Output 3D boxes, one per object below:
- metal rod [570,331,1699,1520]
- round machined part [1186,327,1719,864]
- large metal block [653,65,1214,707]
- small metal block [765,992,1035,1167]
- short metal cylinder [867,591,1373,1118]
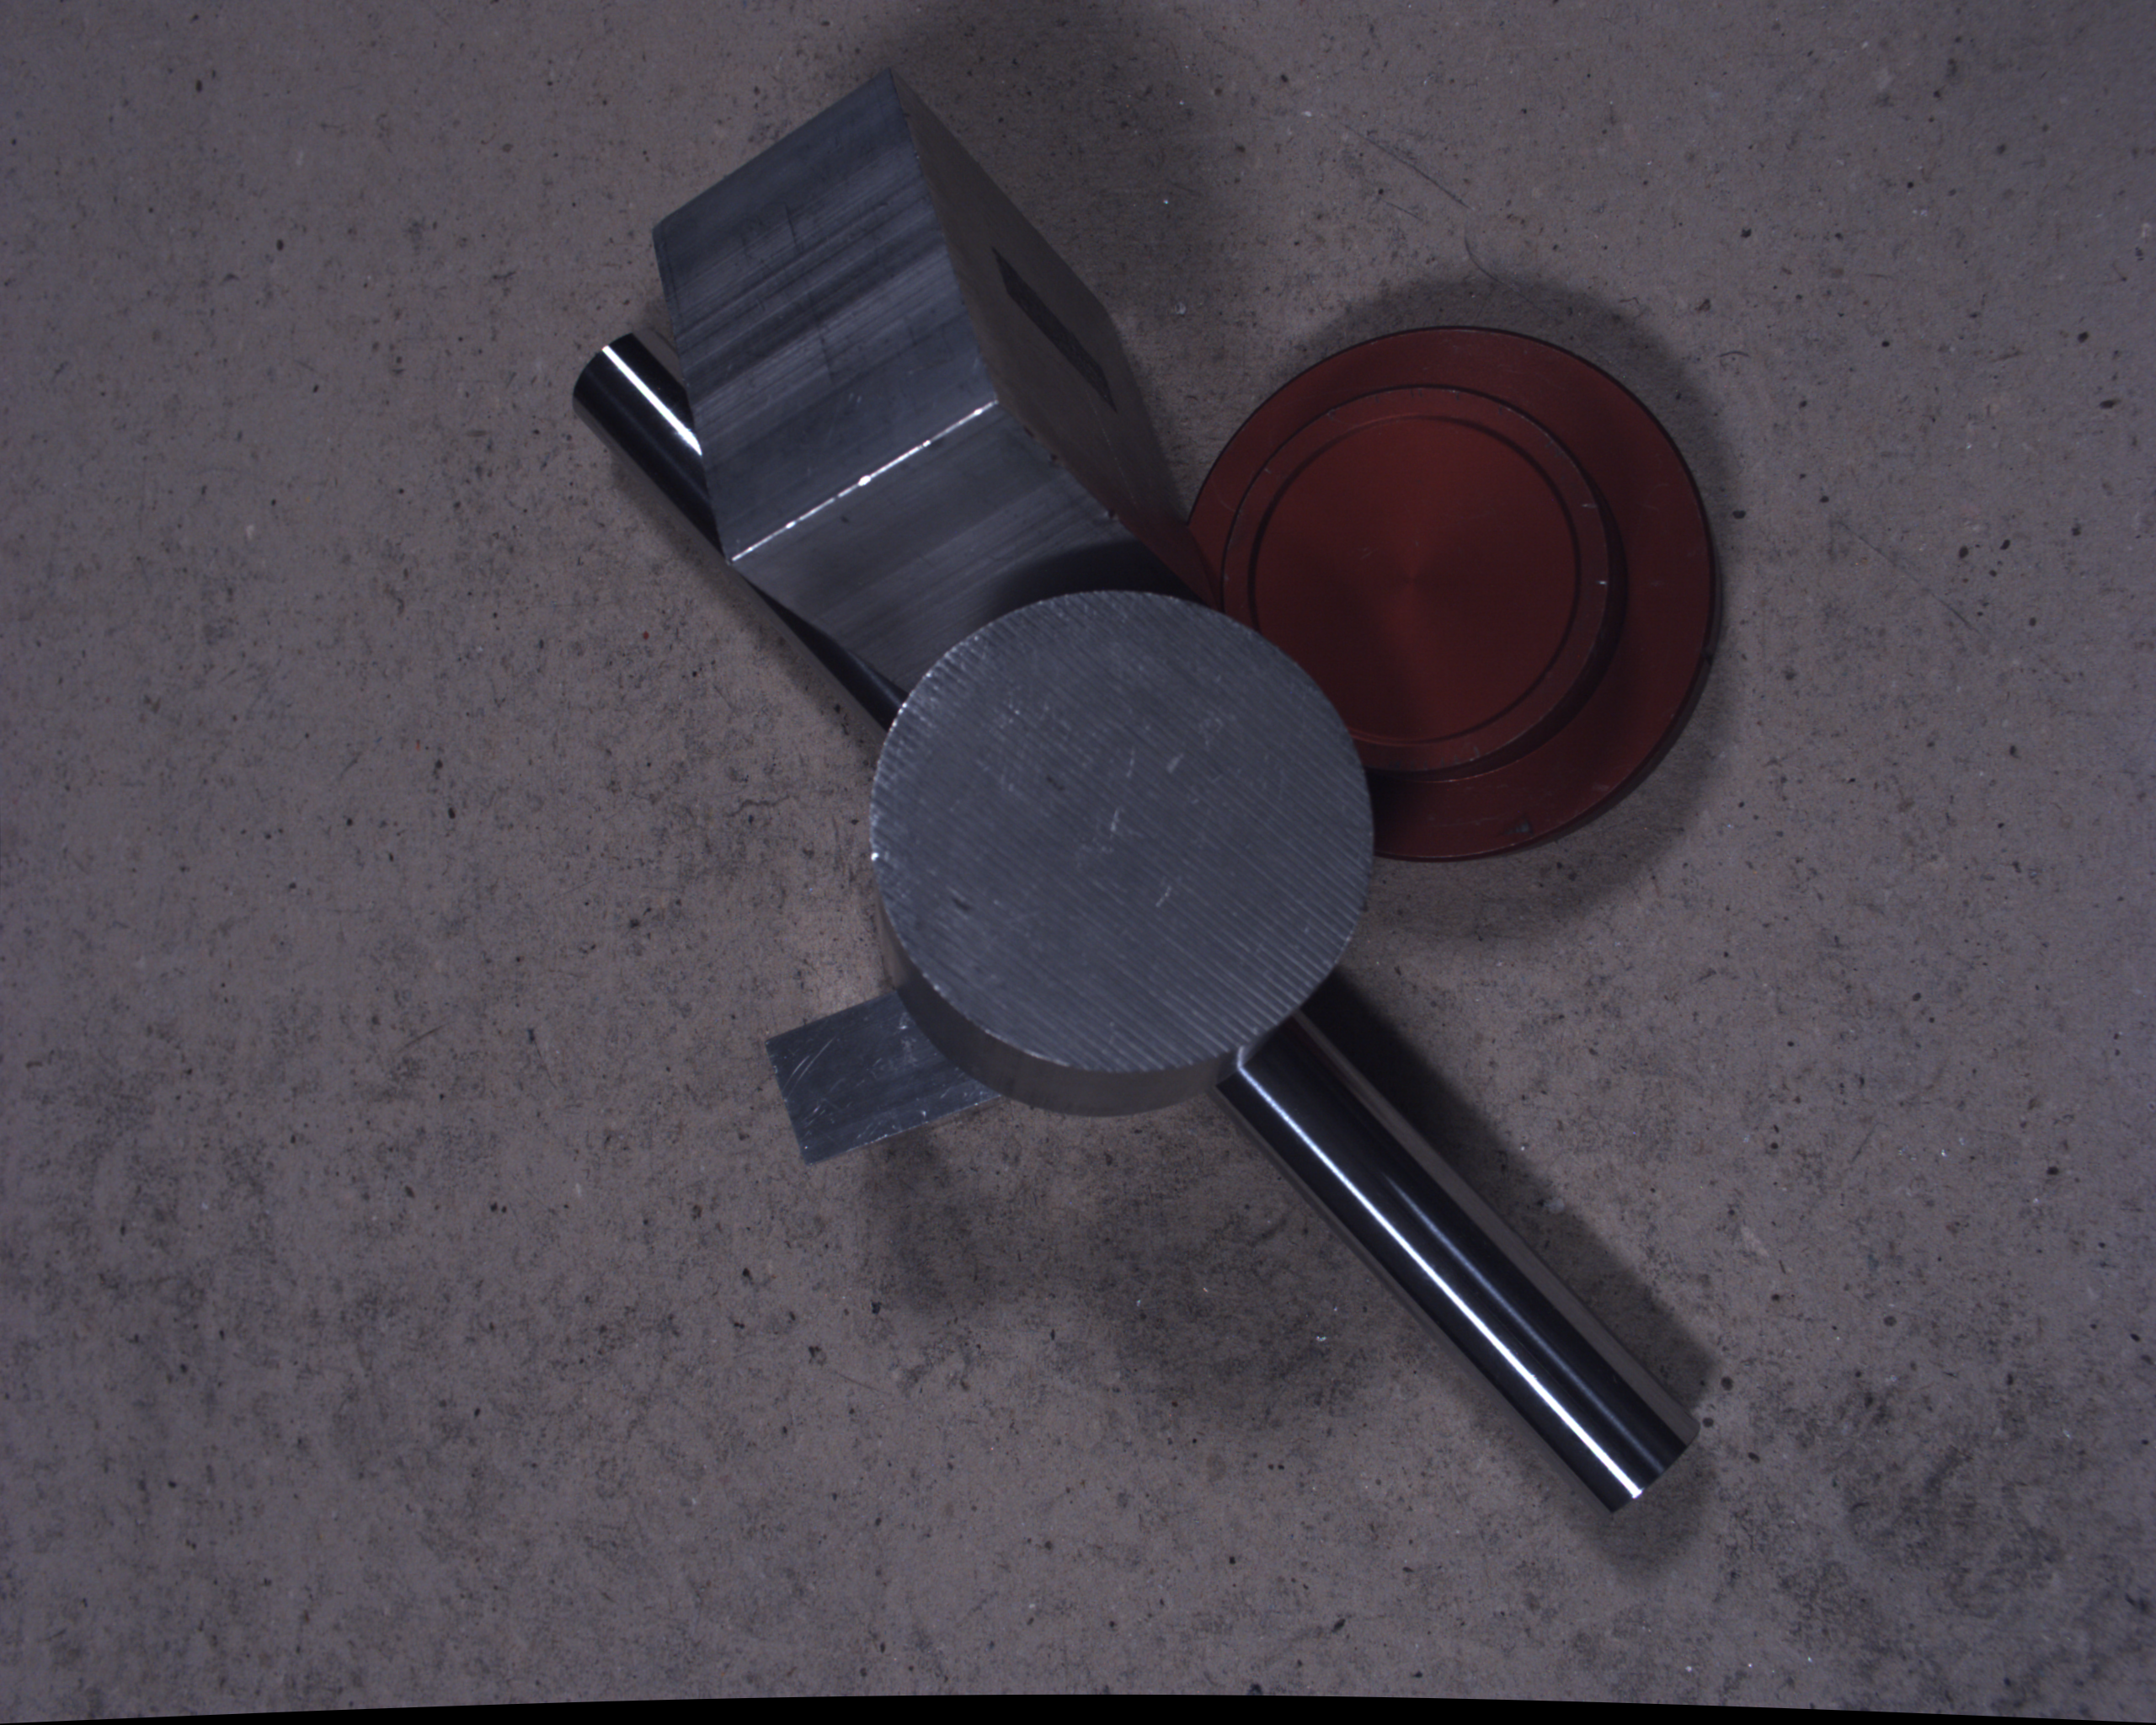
[{"bbox_3d":[0.002,0.003,0.409,0.025,0.025,0.300,-47,76,14],"label":"metal rod"},{"bbox_3d":[0.064,-0.048,0.377,0.098,0.042,0.097,0,90,19],"label":"round machined part"},{"bbox_3d":[-0.025,-0.079,0.378,0.050,0.080,0.080,-28,59,19],"label":"large metal block"},{"bbox_3d":[-0.024,0.036,0.405,0.050,0.050,0.025,-22,82,18],"label":"small metal block"},{"bbox_3d":[0.005,0.000,0.355,0.081,0.050,0.080,1,74,-4],"label":"short metal cylinder"}]
